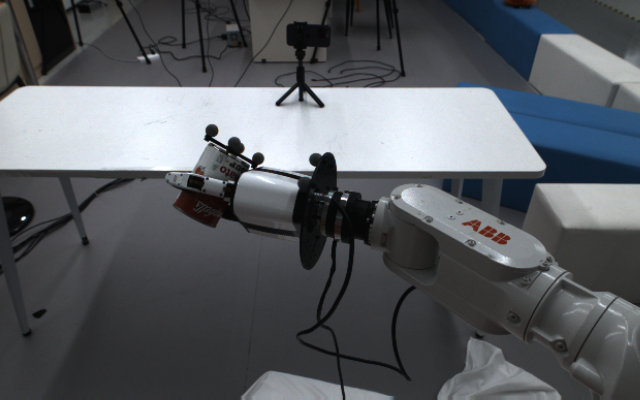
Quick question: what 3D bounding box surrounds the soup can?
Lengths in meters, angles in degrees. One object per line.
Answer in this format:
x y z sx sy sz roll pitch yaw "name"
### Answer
-0.151 -0.020 0.678 0.067 0.101 0.067 29 -3 1 "soup can"
